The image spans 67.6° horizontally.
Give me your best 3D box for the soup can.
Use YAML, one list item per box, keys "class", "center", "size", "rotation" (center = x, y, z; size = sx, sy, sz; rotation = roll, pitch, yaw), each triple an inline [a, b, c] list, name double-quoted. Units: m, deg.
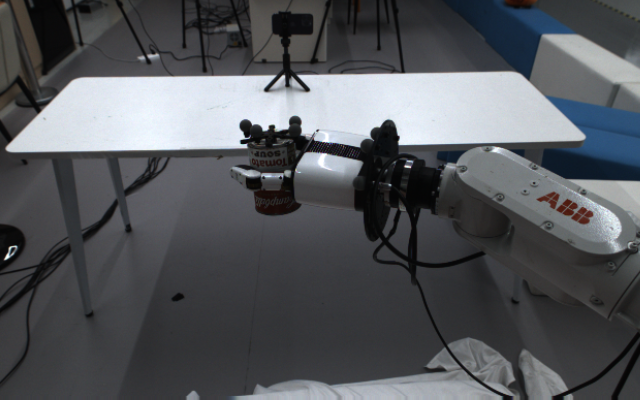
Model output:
- class: "soup can"
  center: [-0.063, -0.038, 0.680]
  size: [0.067, 0.101, 0.067]
  rotation: [-4, 26, 2]
